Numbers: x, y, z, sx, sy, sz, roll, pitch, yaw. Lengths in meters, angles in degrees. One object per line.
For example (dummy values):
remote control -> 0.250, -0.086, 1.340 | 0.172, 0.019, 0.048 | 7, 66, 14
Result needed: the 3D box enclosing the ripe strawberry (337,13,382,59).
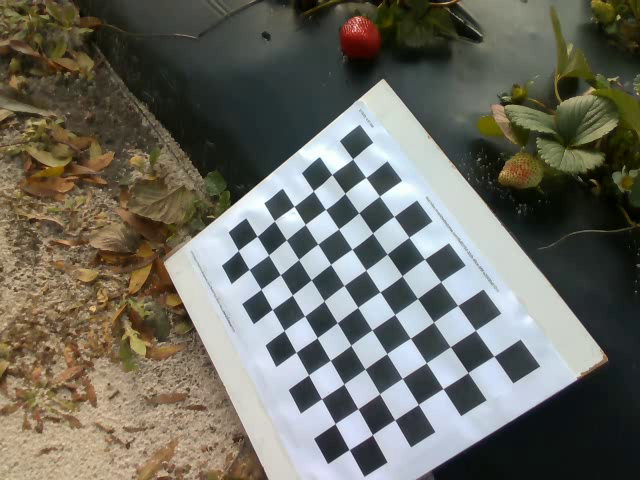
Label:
ripe strawberry -> 0.032, -0.142, 0.484 | 0.038, 0.033, 0.039 | -31, -6, 25
